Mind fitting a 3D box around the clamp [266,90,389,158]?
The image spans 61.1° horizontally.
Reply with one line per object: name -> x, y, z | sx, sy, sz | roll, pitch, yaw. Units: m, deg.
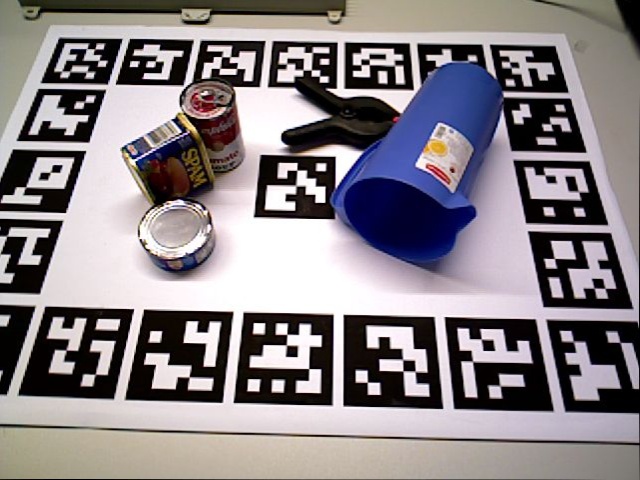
clamp -> 0.012, -0.156, 0.749 | 0.164, 0.037, 0.120 | 4, 56, -1

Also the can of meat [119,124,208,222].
can of meat -> -0.191, -0.075, 0.651 | 0.083, 0.103, 0.057 | -33, 65, -14

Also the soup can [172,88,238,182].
soup can -> -0.144, -0.131, 0.688 | 0.068, 0.104, 0.067 | -1, 61, 2

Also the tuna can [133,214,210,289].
tuna can -> -0.174, 0.014, 0.642 | 0.085, 0.034, 0.084 | -1, 61, 0

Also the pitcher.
pitcher -> 0.124, -0.093, 0.639 | 0.190, 0.135, 0.237 | 7, 50, 30
